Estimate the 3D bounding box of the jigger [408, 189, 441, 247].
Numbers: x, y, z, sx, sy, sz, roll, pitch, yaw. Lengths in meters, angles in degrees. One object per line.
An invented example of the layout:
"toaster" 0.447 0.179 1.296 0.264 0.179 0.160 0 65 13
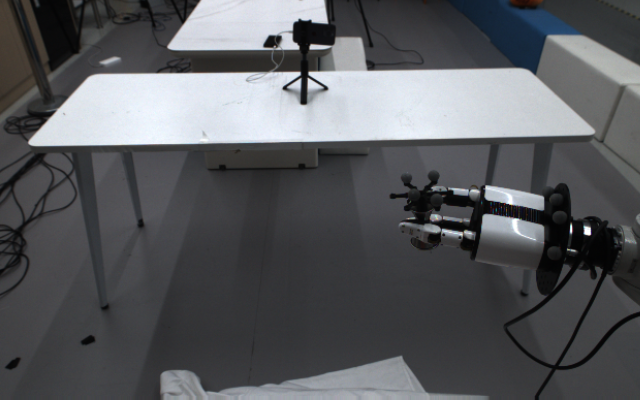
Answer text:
"jigger" 0.155 0.032 0.724 0.043 0.071 0.043 -9 31 5
